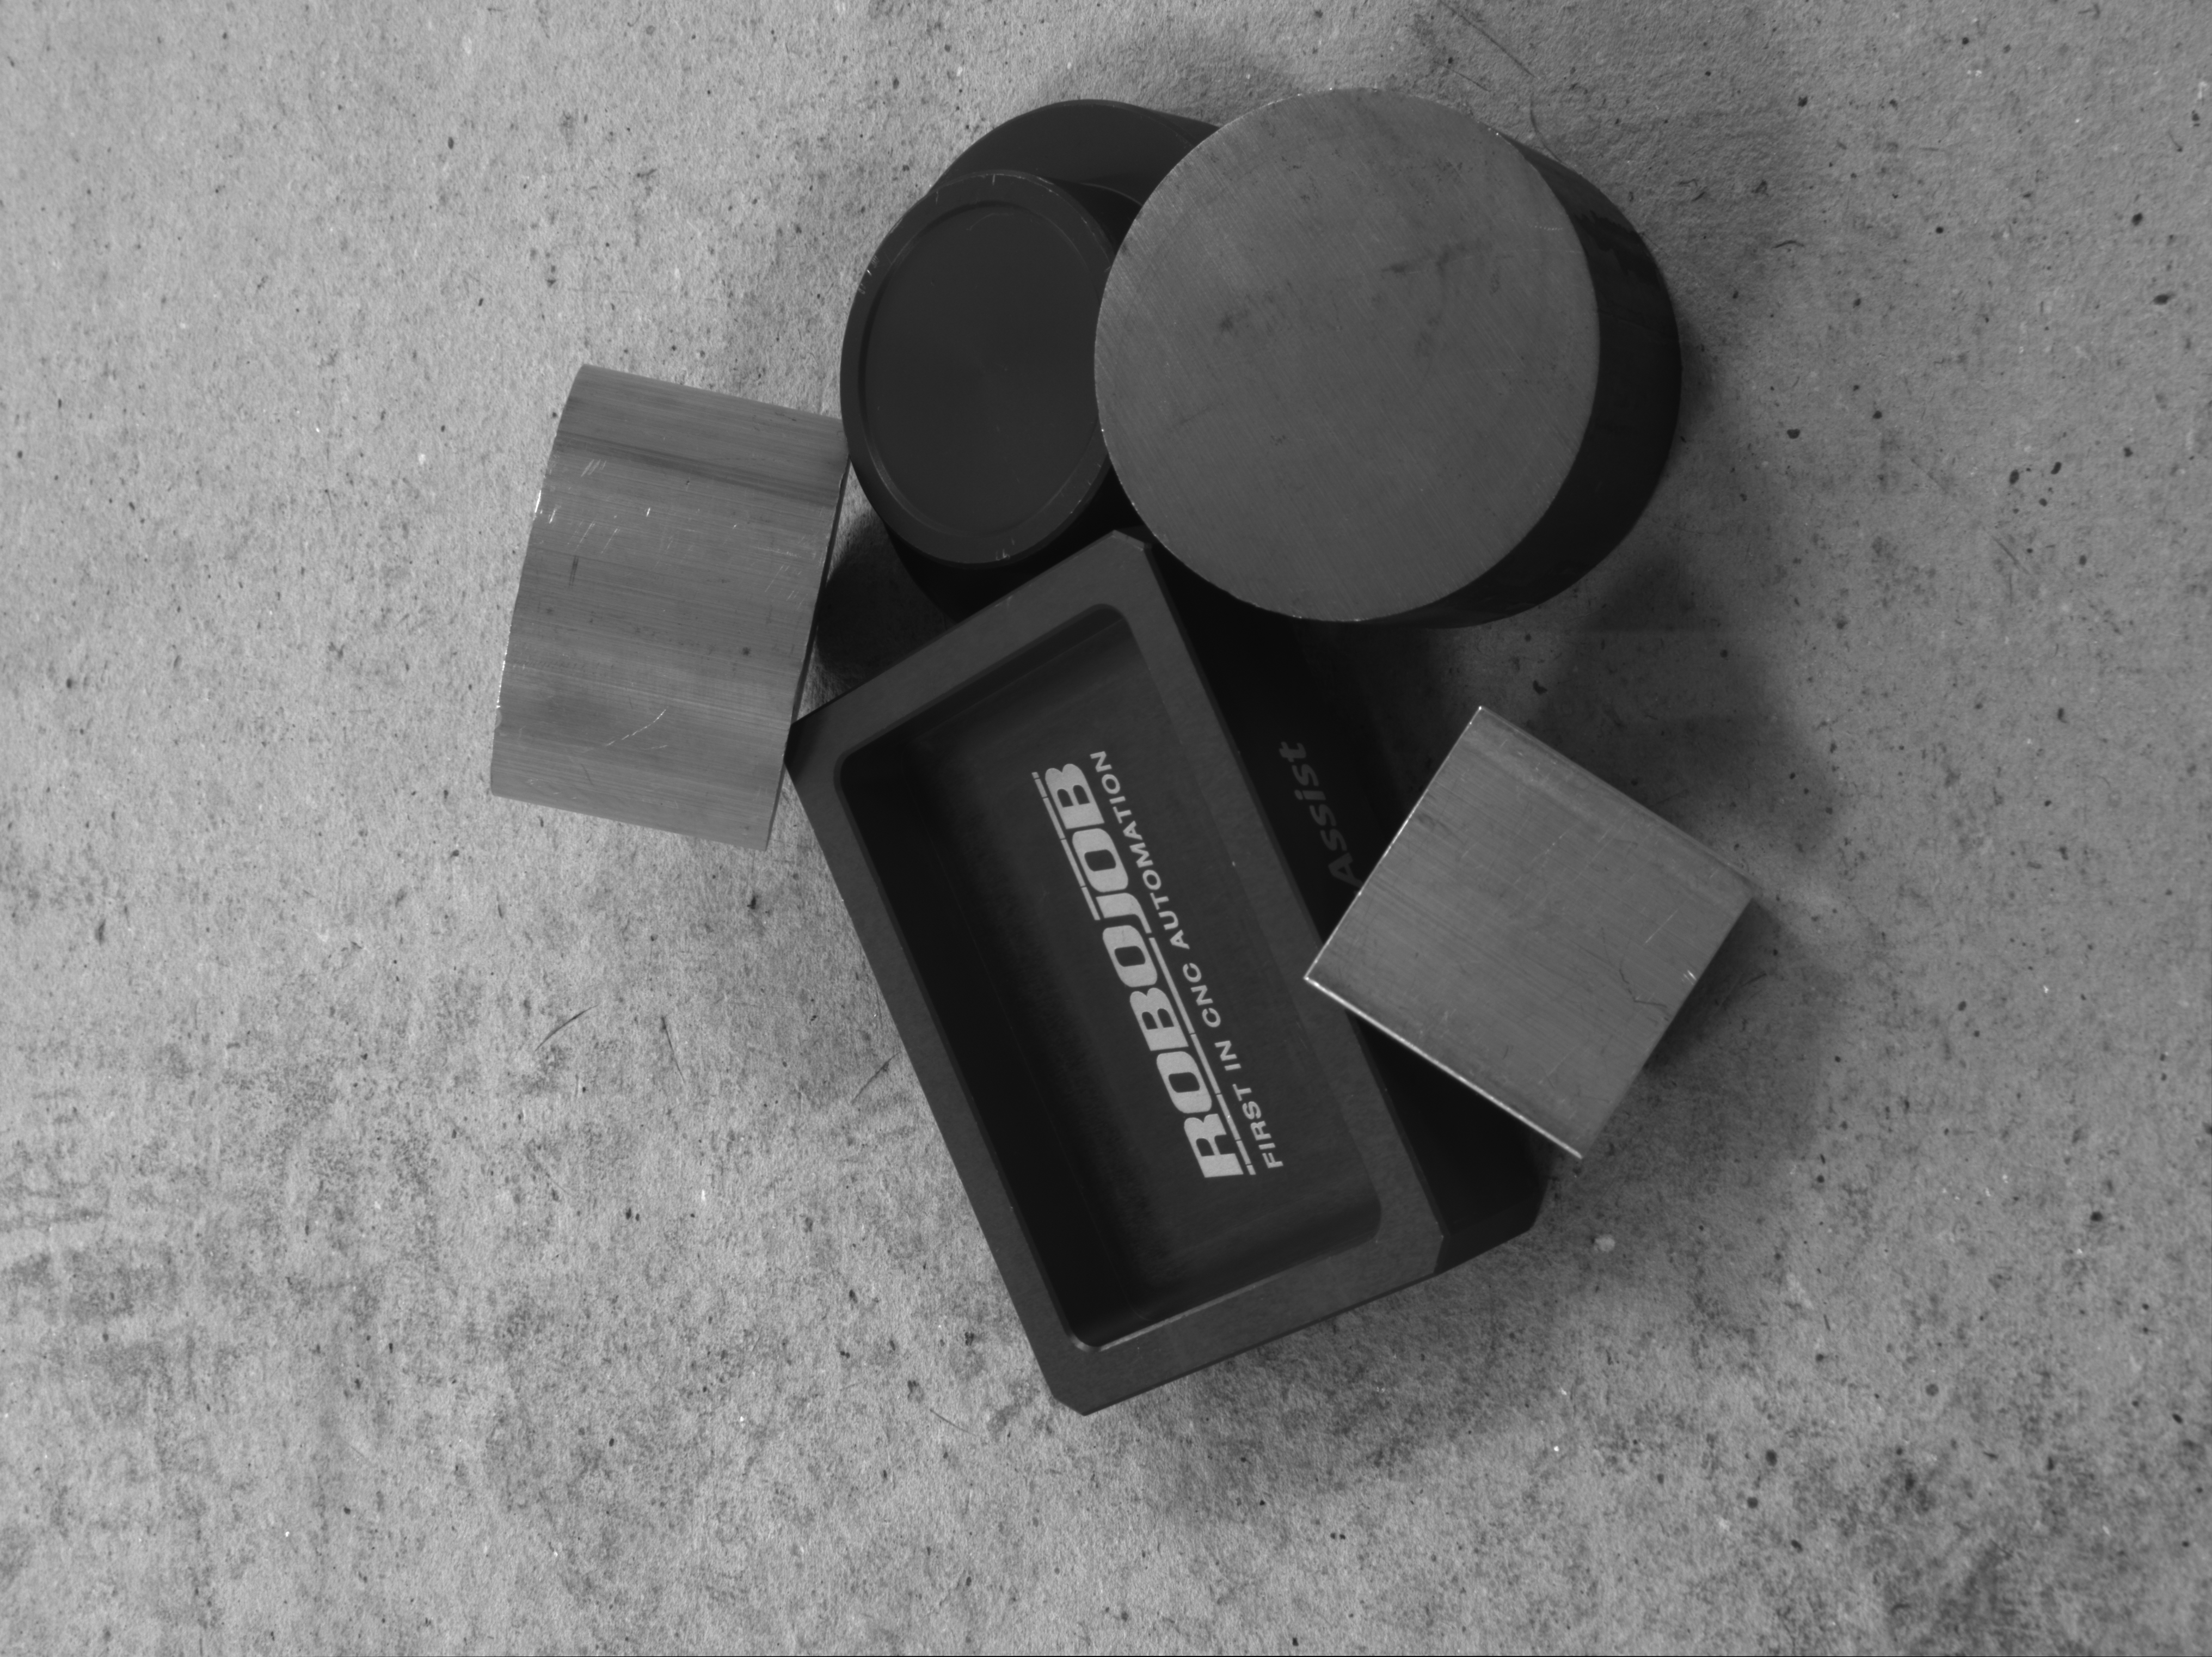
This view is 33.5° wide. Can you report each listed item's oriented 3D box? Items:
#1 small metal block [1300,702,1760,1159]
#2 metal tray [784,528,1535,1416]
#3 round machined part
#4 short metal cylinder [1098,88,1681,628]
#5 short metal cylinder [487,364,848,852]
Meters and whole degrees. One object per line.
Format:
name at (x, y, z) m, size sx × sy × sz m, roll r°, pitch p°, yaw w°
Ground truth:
small metal block at (0.065, 0.016, 0.568) m, size 0.050 × 0.025 × 0.050 m, roll 33°, pitch 88°, yaw 7°
metal tray at (0.007, 0.024, 0.622) m, size 0.090 × 0.030 × 0.130 m, roll -28°, pitch 82°, yaw 37°
round machined part at (-0.008, -0.079, 0.642) m, size 0.098 × 0.042 × 0.098 m, roll 0°, pitch 90°, yaw 40°
short metal cylinder at (0.045, -0.072, 0.578) m, size 0.080 × 0.050 × 0.080 m, roll 1°, pitch 92°, yaw 22°
short metal cylinder at (-0.079, -0.040, 0.668) m, size 0.050 × 0.080 × 0.080 m, roll 12°, pitch 100°, yaw -4°
